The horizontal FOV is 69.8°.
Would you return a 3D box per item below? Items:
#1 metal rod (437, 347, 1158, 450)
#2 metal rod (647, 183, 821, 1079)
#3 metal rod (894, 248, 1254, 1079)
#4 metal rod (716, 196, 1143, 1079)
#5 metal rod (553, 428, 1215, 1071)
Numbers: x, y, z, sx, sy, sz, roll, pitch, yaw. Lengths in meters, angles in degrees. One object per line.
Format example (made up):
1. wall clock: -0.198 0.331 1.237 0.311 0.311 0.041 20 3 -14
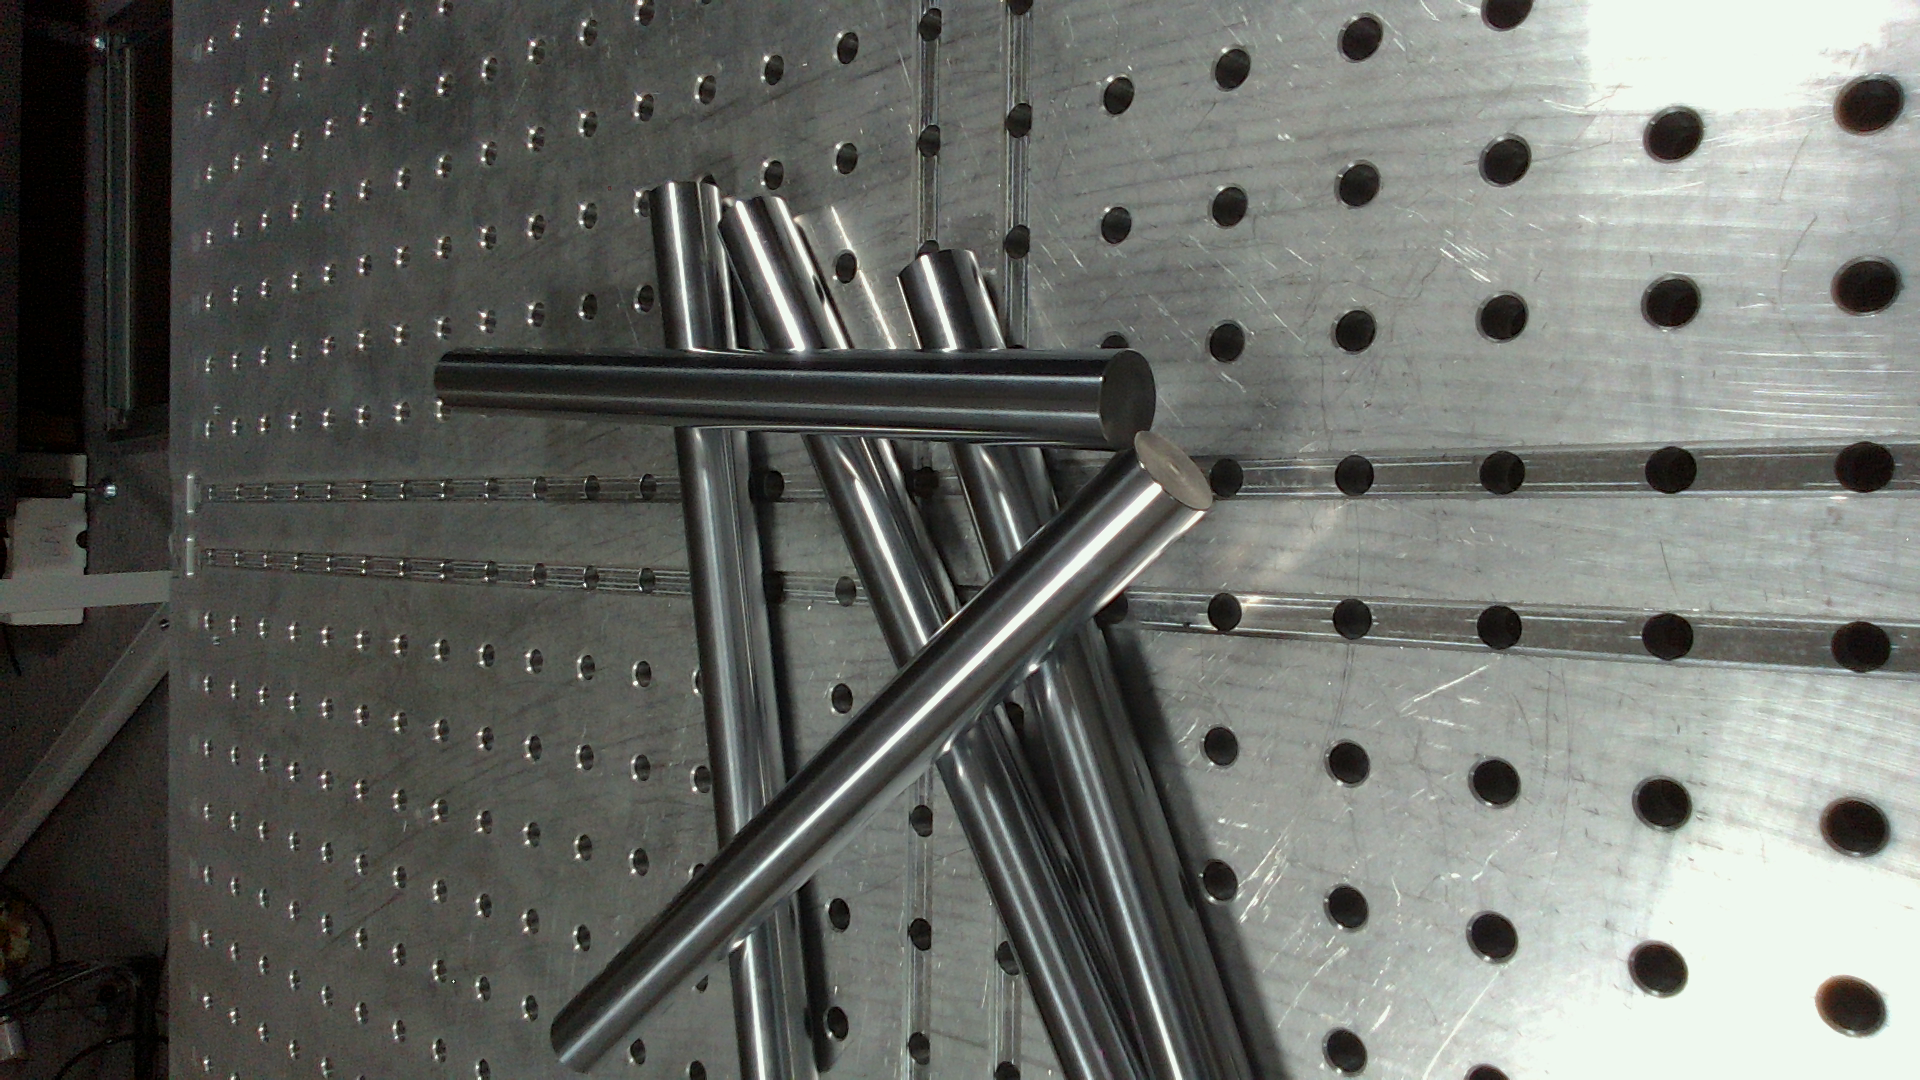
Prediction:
1. metal rod: -0.073 -0.047 0.427 0.299 0.025 0.025 6 94 40
2. metal rod: -0.077 0.029 0.462 0.025 0.025 0.300 -13 82 39
3. metal rod: 0.037 0.059 0.367 0.025 0.025 0.300 -29 72 37
4. metal rod: -0.011 0.024 0.407 0.025 0.025 0.300 -37 67 34
5. metal rod: -0.039 0.077 0.397 0.299 0.025 0.025 -46 62 30
